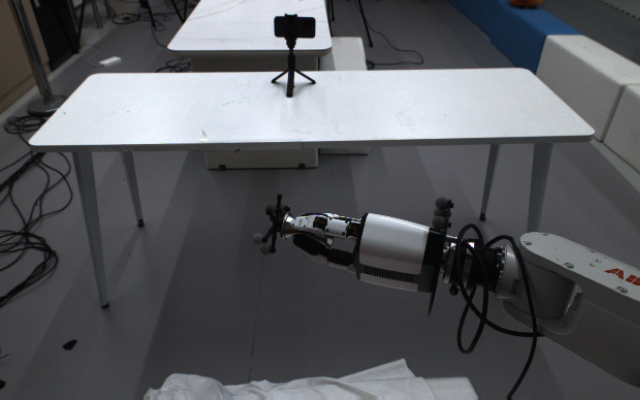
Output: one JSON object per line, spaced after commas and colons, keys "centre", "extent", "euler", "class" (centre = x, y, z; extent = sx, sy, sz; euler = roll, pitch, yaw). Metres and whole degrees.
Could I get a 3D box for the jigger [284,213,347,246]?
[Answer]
{"centre": [-0.010, 0.038, 0.693], "extent": [0.071, 0.043, 0.043], "euler": [9, 35, 16], "class": "jigger"}
